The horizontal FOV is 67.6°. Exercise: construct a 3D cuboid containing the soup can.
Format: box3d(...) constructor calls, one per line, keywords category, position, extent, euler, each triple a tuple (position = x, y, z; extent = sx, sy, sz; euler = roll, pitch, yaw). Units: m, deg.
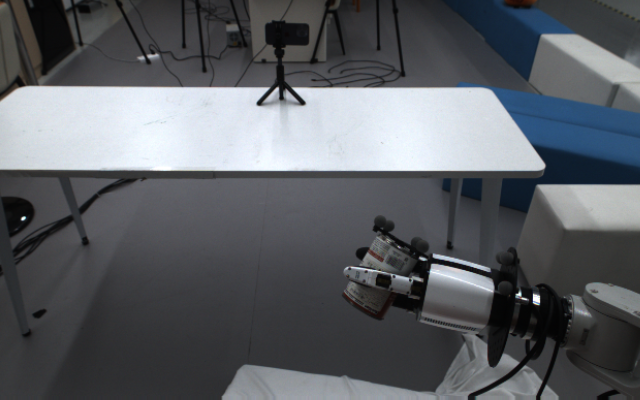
box3d(category="soup can", position=(0.086, 0.106, 0.675), extent=(0.067, 0.101, 0.067), euler=(30, 2, -1))
